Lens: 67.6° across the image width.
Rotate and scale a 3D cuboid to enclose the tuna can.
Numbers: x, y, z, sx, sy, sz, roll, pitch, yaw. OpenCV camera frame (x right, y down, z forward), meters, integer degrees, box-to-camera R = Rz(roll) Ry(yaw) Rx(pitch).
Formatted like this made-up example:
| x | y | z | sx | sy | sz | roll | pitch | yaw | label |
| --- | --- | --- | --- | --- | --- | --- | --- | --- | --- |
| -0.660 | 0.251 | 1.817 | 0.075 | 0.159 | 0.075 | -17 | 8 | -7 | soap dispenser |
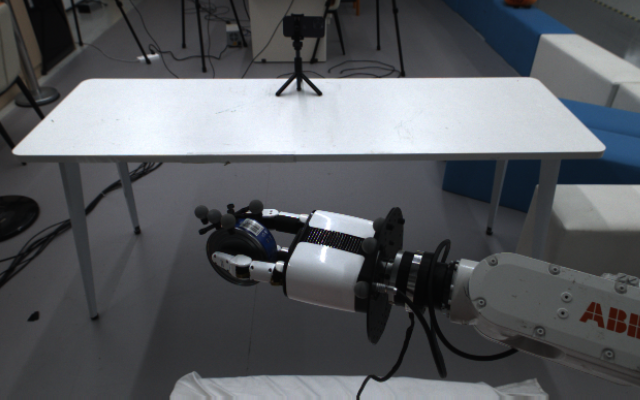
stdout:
| x | y | z | sx | sy | sz | roll | pitch | yaw | label |
| --- | --- | --- | --- | --- | --- | --- | --- | --- | --- |
| -0.095 | 0.069 | 0.609 | 0.085 | 0.085 | 0.034 | 13 | 28 | 15 | tuna can |
